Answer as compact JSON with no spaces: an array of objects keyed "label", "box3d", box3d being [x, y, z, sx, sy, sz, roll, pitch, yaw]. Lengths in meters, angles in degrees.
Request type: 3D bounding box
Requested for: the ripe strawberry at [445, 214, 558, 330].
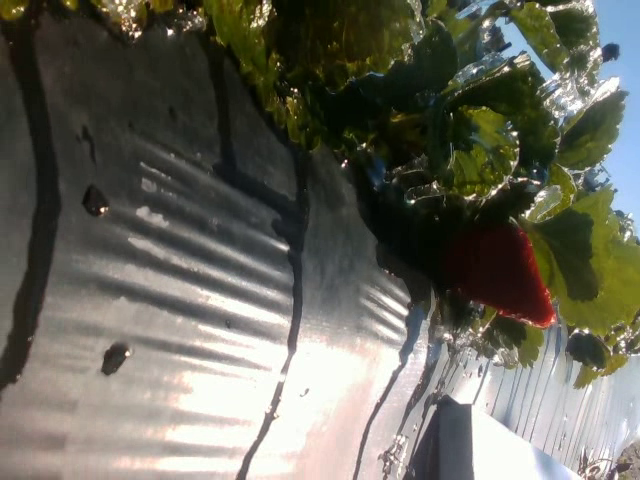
[{"label":"ripe strawberry","box3d":[0.077,0.017,0.238,0.041,0.047,0.052,31,17,-49]}]
